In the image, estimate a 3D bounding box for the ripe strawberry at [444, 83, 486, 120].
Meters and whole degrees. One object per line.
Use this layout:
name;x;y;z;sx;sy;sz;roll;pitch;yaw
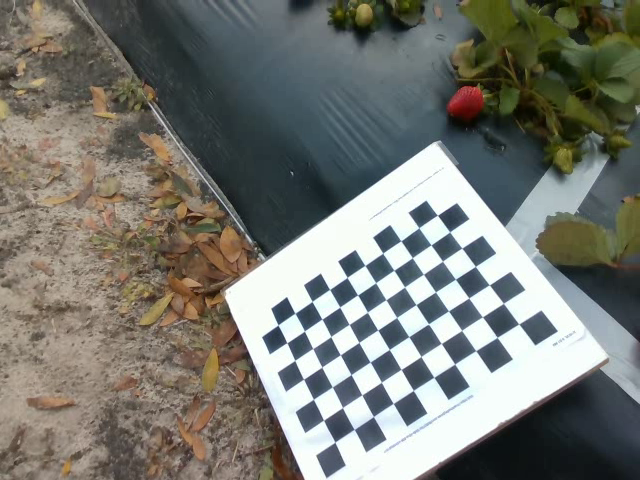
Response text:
ripe strawberry;0.150;-0.142;0.713;0.046;0.040;0.036;-11;33;-32
